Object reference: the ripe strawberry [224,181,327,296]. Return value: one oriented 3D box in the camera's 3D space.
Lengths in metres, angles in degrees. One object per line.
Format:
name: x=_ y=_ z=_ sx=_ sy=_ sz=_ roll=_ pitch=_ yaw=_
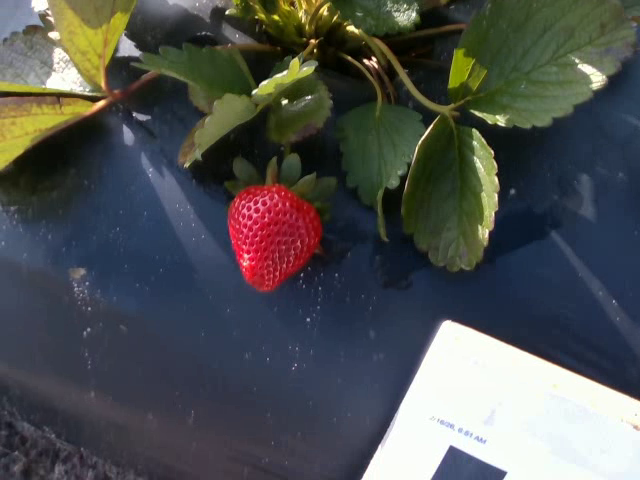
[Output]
ripe strawberry: x=-0.017 y=0.002 z=0.187 sx=0.041 sy=0.047 sz=0.041 roll=-1 pitch=-40 yaw=26
